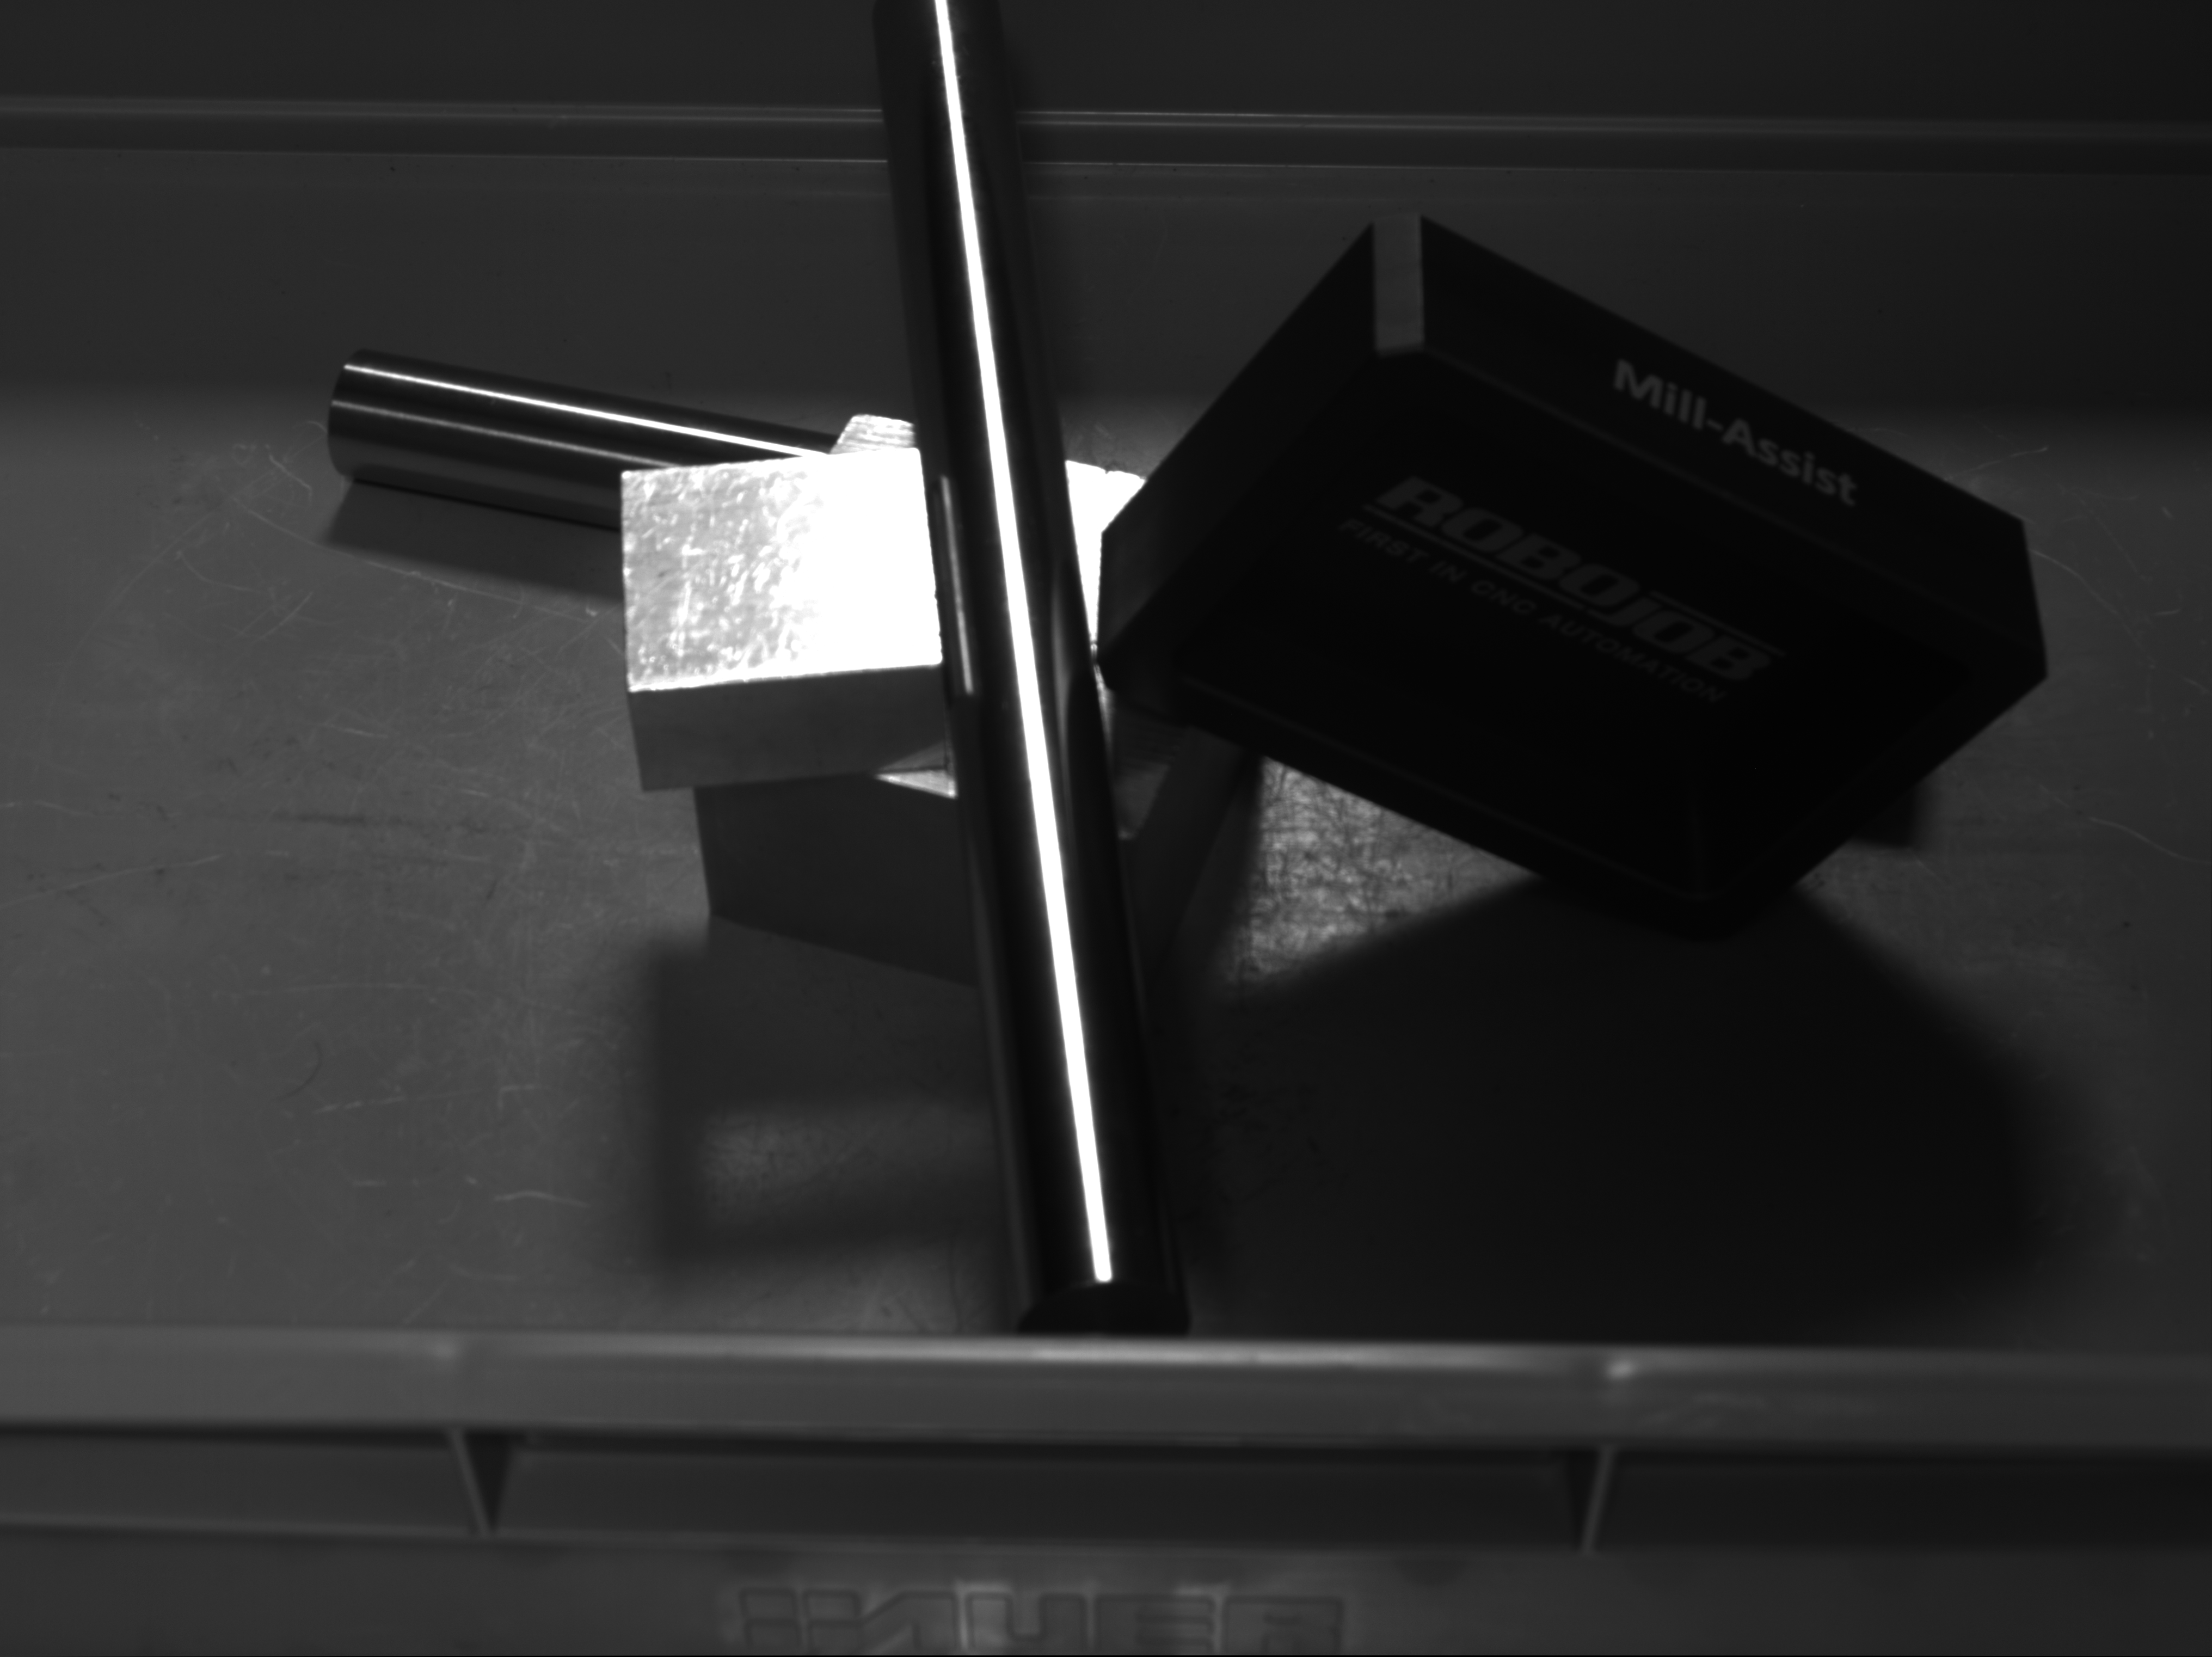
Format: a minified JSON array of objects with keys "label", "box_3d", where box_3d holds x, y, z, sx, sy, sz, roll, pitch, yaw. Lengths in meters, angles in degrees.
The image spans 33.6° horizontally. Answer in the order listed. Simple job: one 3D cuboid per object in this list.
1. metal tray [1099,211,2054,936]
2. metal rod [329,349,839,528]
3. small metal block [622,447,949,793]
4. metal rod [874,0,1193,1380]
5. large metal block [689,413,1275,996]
[{"label":"metal tray","box_3d":[0.076,-0.037,0.595,0.130,0.090,0.030,22,46,-23]},{"label":"metal rod","box_3d":[0.000,-0.051,0.685,0.300,0.025,0.025,11,51,9]},{"label":"small metal block","box_3d":[-0.053,-0.035,0.605,0.050,0.025,0.050,-5,49,-4]},{"label":"metal rod","box_3d":[-0.016,-0.043,0.612,0.025,0.025,0.300,-5,50,-4]},{"label":"large metal block","box_3d":[-0.020,-0.020,0.641,0.080,0.050,0.080,14,51,12]}]
